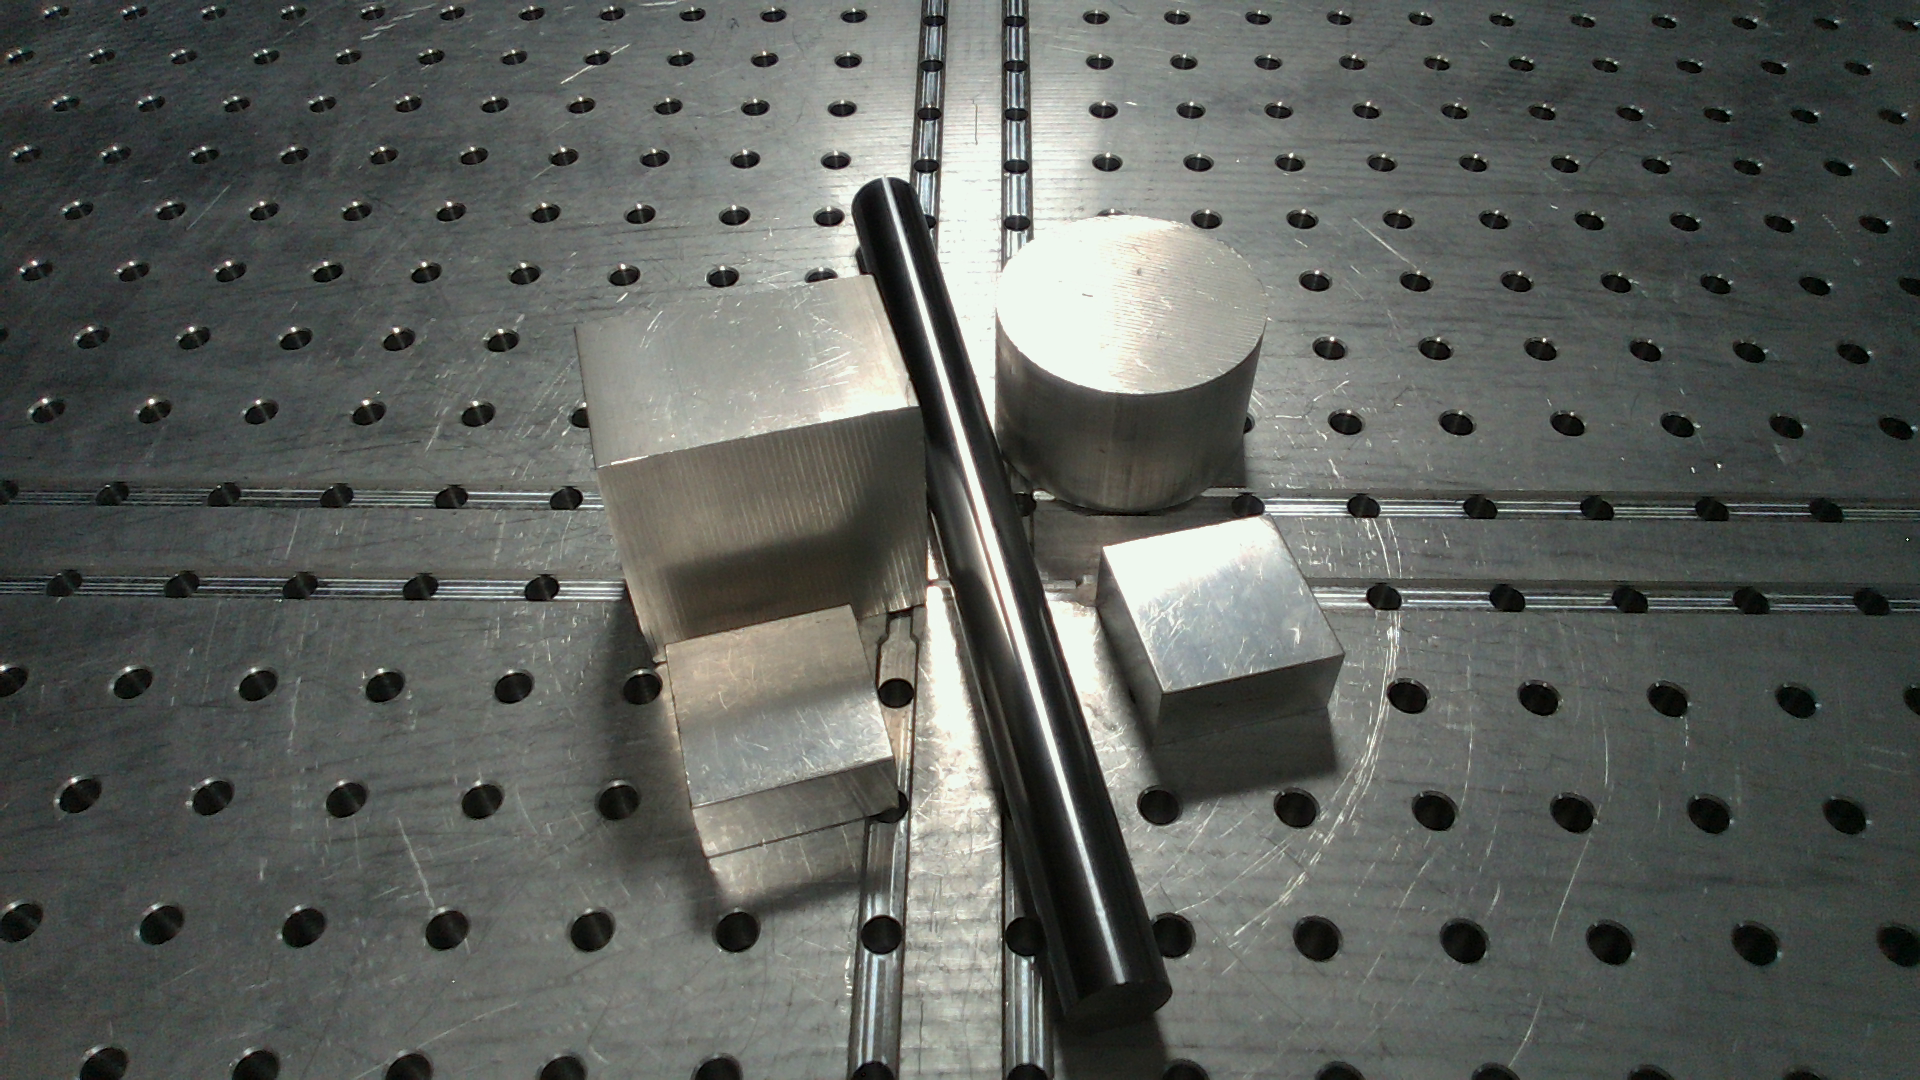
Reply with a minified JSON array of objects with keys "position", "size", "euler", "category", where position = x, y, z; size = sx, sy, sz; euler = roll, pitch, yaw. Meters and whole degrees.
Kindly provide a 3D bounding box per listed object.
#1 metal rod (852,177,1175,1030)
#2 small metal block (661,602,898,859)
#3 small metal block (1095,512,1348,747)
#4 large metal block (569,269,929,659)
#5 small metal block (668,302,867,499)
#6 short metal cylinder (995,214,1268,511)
[{"position":[0.004,-0.008,0.401],"size":[0.025,0.025,0.300],"euler":[-9,51,-8],"category":"metal rod"},{"position":[-0.047,0.048,0.354],"size":[0.050,0.025,0.050],"euler":[-12,51,-10],"category":"small metal block"},{"position":[0.069,0.024,0.375],"size":[0.050,0.025,0.050],"euler":[-11,51,-9],"category":"small metal block"},{"position":[-0.054,-0.019,0.373],"size":[0.080,0.080,0.050],"euler":[-12,51,-10],"category":"large metal block"},{"position":[-0.061,-0.045,0.432],"size":[0.050,0.025,0.050],"euler":[-13,51,-11],"category":"small metal block"},{"position":[0.051,-0.056,0.425],"size":[0.080,0.050,0.080],"euler":[0,50,0],"category":"short metal cylinder"}]
